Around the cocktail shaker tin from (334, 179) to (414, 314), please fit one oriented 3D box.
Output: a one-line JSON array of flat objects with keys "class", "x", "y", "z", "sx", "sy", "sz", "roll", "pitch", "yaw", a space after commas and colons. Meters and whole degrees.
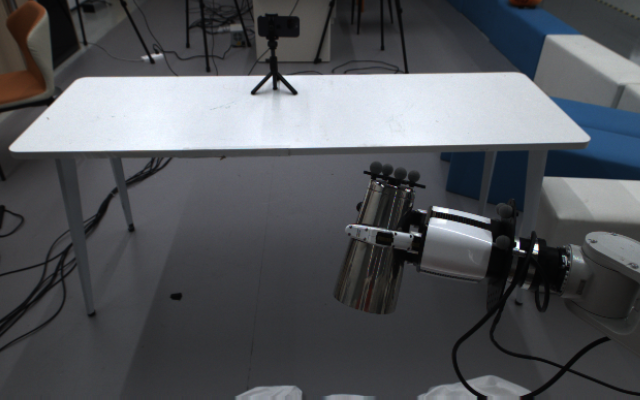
[{"class": "cocktail shaker tin", "x": 0.083, "y": 0.061, "z": 0.680, "sx": 0.093, "sy": 0.170, "sz": 0.093, "roll": 13, "pitch": 7, "yaw": -1}]
